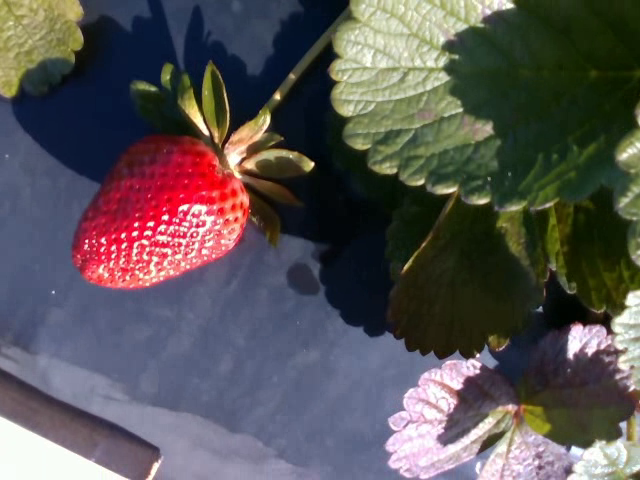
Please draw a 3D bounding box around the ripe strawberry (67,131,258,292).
[{"bbox_3d":[-0.045,-0.004,0.159,0.050,0.043,0.043,-40,24,-27],"label":"ripe strawberry"}]
